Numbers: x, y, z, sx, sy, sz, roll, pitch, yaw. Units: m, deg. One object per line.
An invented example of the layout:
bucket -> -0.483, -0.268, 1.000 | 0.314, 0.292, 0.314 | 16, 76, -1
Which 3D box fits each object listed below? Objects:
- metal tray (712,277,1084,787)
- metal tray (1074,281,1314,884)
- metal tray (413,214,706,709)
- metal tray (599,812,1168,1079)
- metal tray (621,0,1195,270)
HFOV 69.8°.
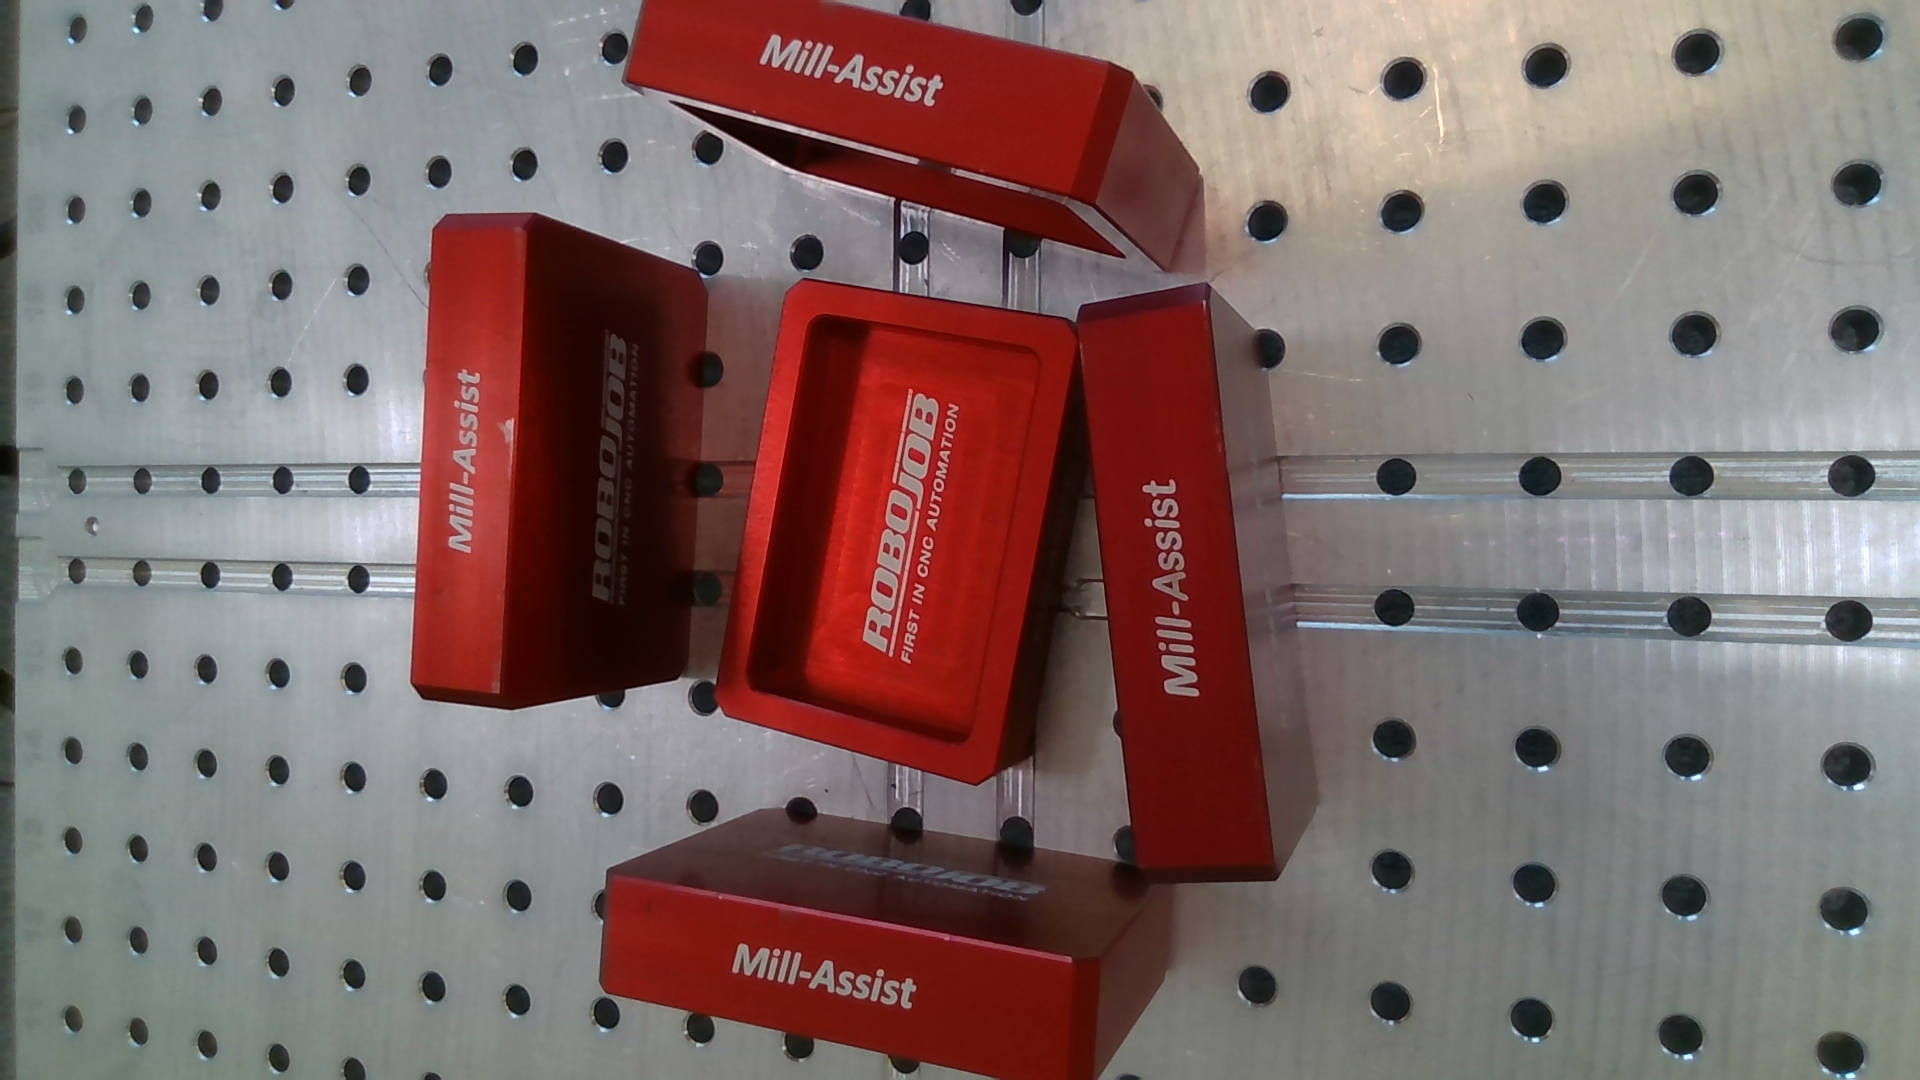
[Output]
metal tray -> -0.016, -0.004, 0.399 | 0.090, 0.030, 0.130 | 12, 95, 20
metal tray -> 0.061, 0.010, 0.339 | 0.030, 0.090, 0.130 | -7, 88, 20
metal tray -> -0.114, -0.021, 0.403 | 0.030, 0.090, 0.130 | 4, 91, 20
metal tray -> -0.017, 0.104, 0.368 | 0.130, 0.090, 0.030 | 5, 92, 20
metal tray -> -0.010, -0.109, 0.365 | 0.130, 0.090, 0.030 | 19, 96, 19
